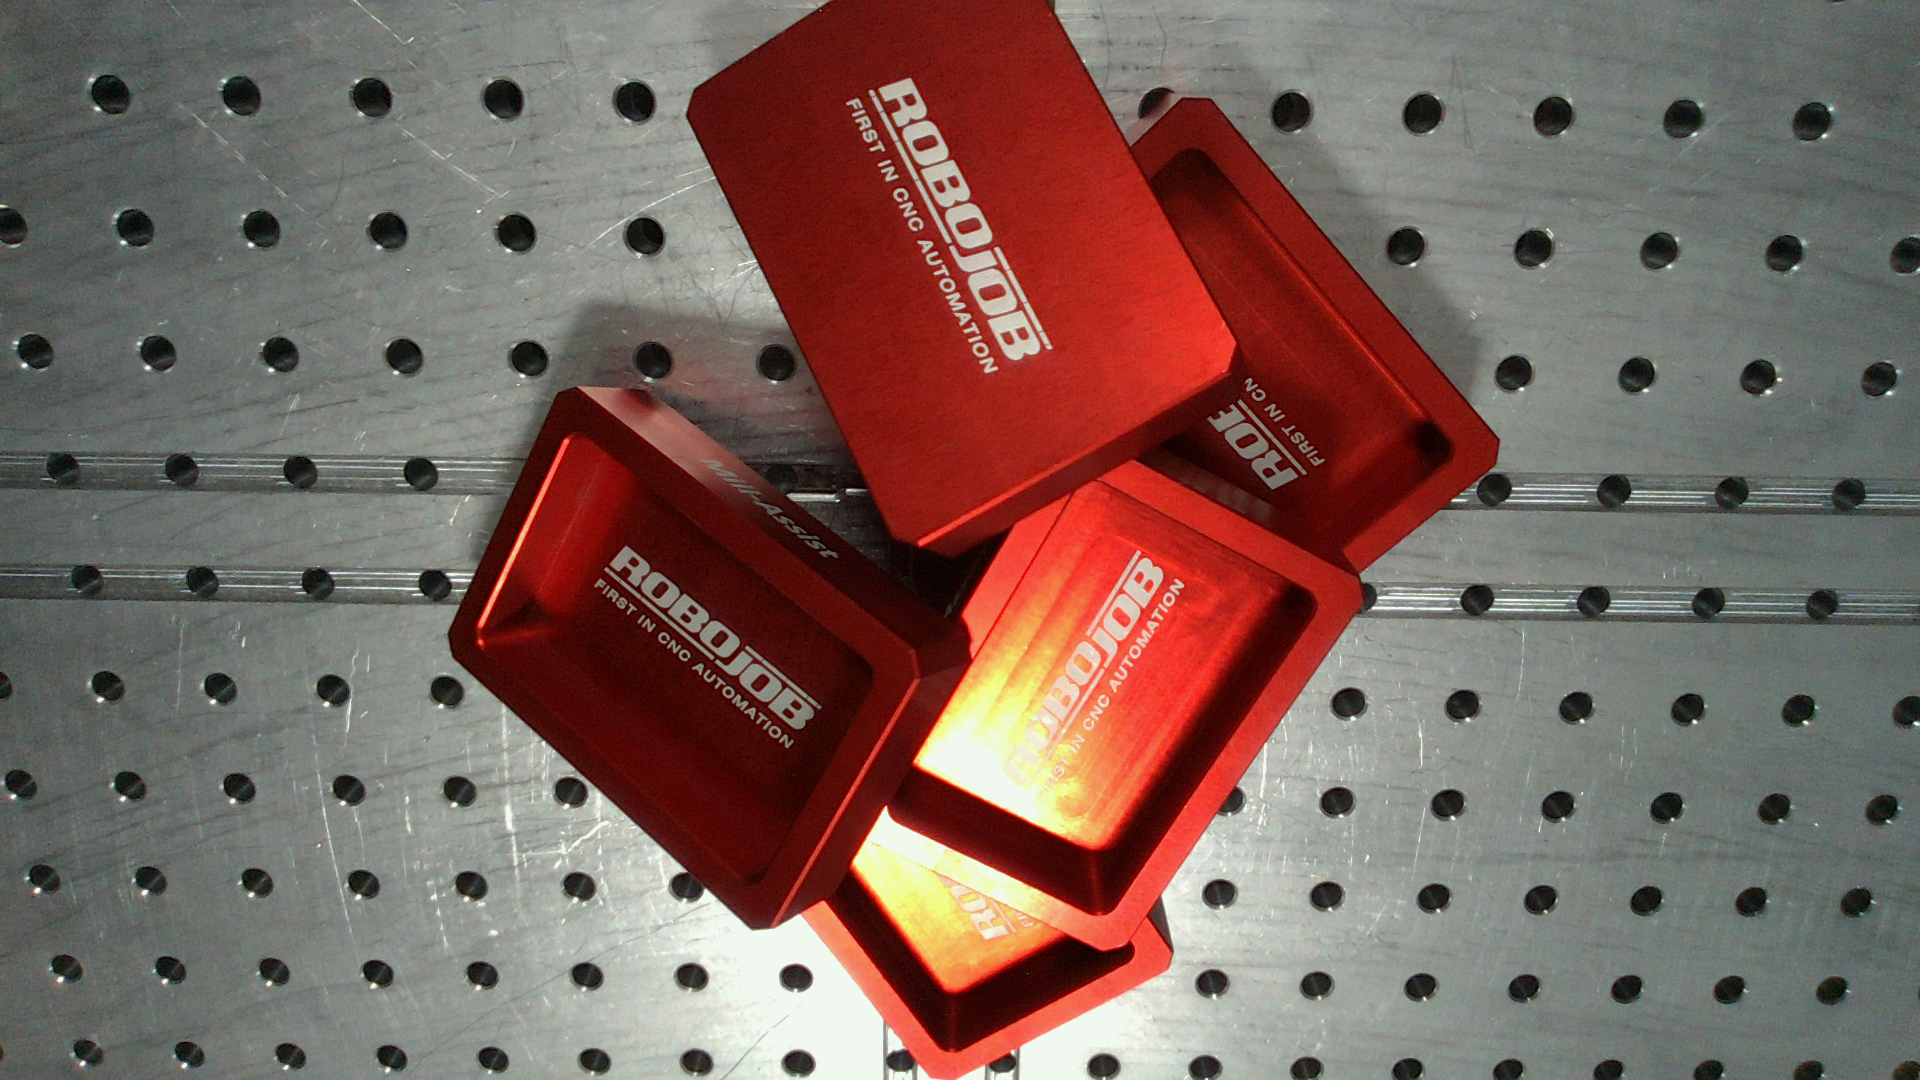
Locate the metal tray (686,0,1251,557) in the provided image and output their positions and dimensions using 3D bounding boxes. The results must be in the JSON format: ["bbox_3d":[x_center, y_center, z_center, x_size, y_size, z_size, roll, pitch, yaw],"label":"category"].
[{"bbox_3d":[0.001,-0.073,0.335,0.090,0.030,0.130,-29,78,10],"label":"metal tray"}]

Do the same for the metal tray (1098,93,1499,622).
[{"bbox_3d":[0.071,-0.044,0.378,0.090,0.030,0.130,-42,105,14],"label":"metal tray"}]

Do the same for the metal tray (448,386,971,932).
[{"bbox_3d":[-0.072,0.029,0.371,0.130,0.030,0.090,36,109,19],"label":"metal tray"}]

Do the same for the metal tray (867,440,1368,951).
[{"bbox_3d":[0.037,0.040,0.377,0.090,0.030,0.130,27,108,-10],"label":"metal tray"}]

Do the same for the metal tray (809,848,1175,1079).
[{"bbox_3d":[-0.004,0.097,0.429,0.090,0.030,0.130,-31,107,11],"label":"metal tray"}]
